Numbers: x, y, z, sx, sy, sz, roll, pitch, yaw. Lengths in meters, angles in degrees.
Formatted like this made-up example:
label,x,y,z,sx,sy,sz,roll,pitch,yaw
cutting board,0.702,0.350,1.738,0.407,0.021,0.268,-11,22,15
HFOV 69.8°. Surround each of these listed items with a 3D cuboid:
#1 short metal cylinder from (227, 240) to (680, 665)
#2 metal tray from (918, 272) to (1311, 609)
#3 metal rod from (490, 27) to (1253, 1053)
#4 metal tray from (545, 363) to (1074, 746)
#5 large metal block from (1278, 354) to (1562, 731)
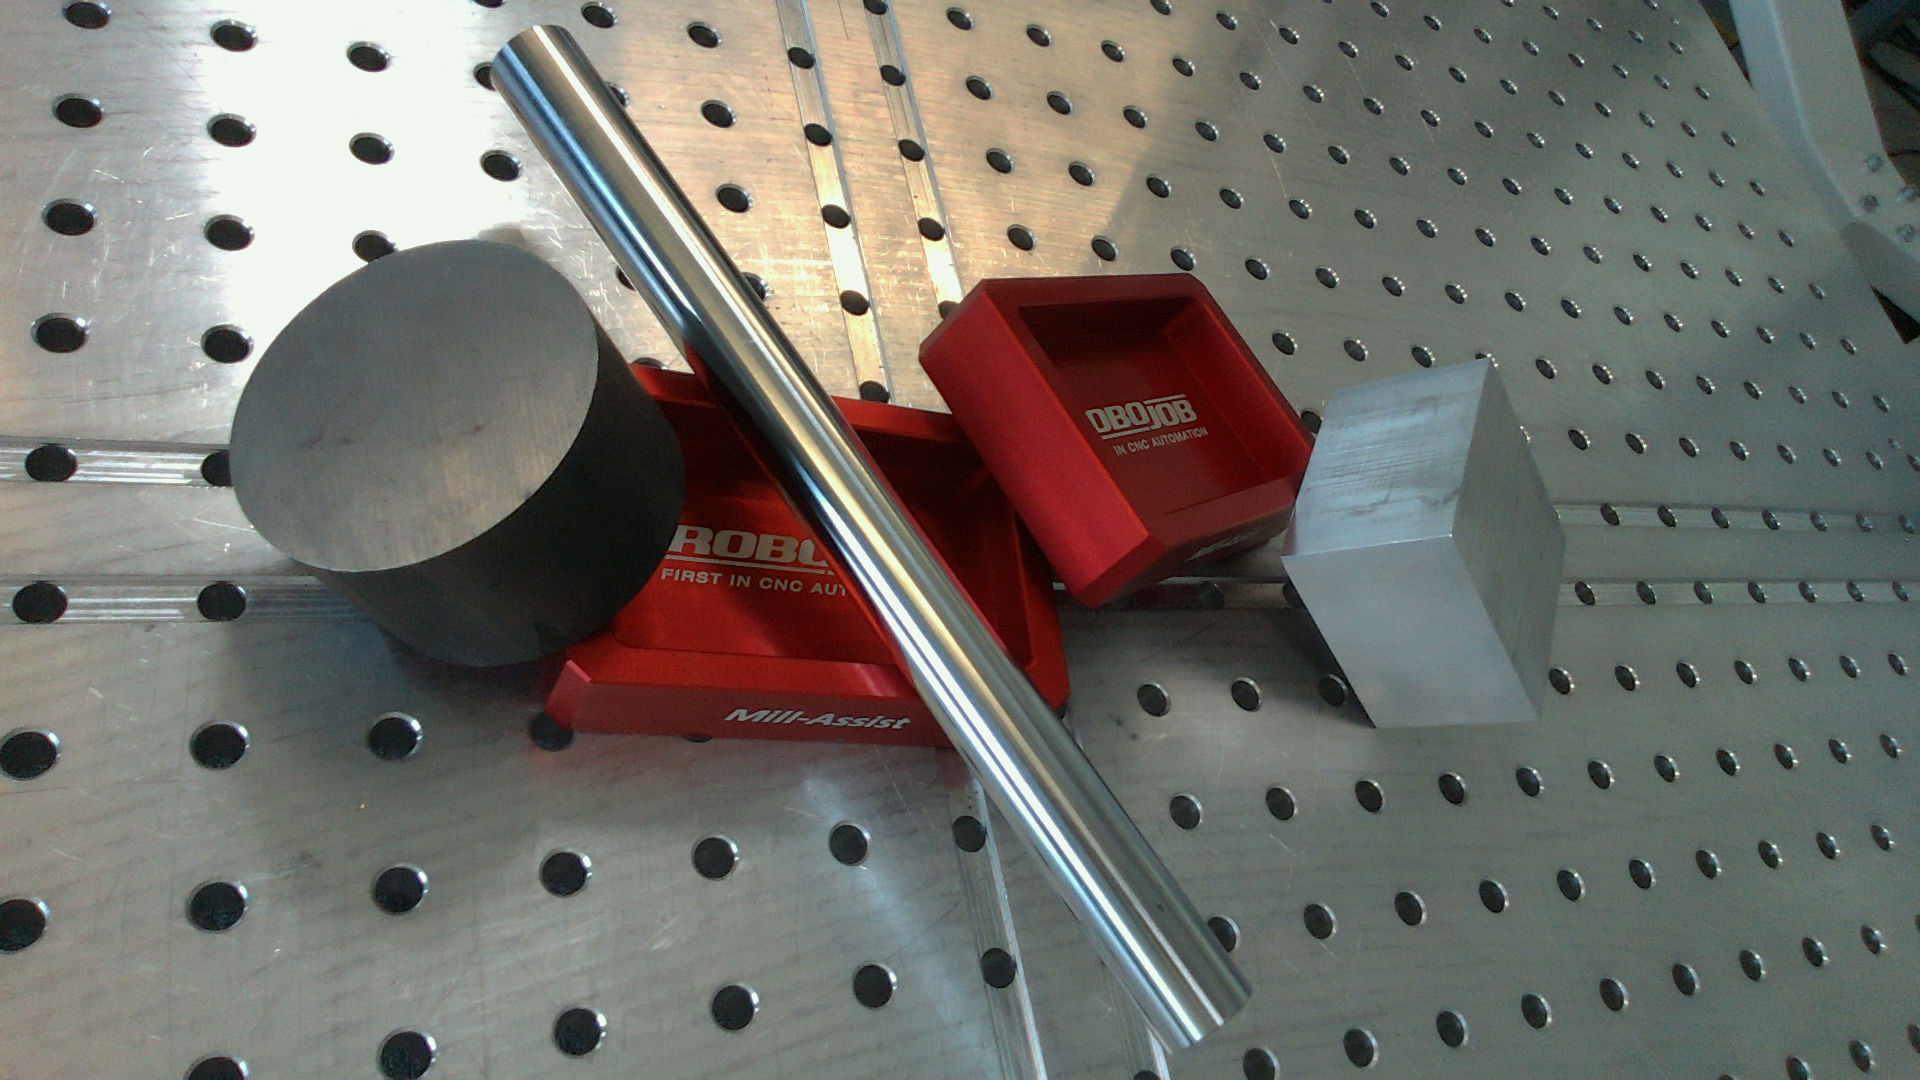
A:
label,x,y,z,sx,sy,sz,roll,pitch,yaw
short metal cylinder,-0.109,-0.019,0.306,0.080,0.050,0.080,-5,63,9
metal tray,0.057,-0.036,0.418,0.131,0.030,0.090,-16,69,-52
metal rod,-0.029,-0.009,0.344,0.025,0.025,0.300,-28,77,-37
metal tray,-0.039,0.006,0.364,0.130,0.030,0.090,7,59,-25
large metal block,0.148,0.002,0.432,0.080,0.050,0.080,55,45,-30
